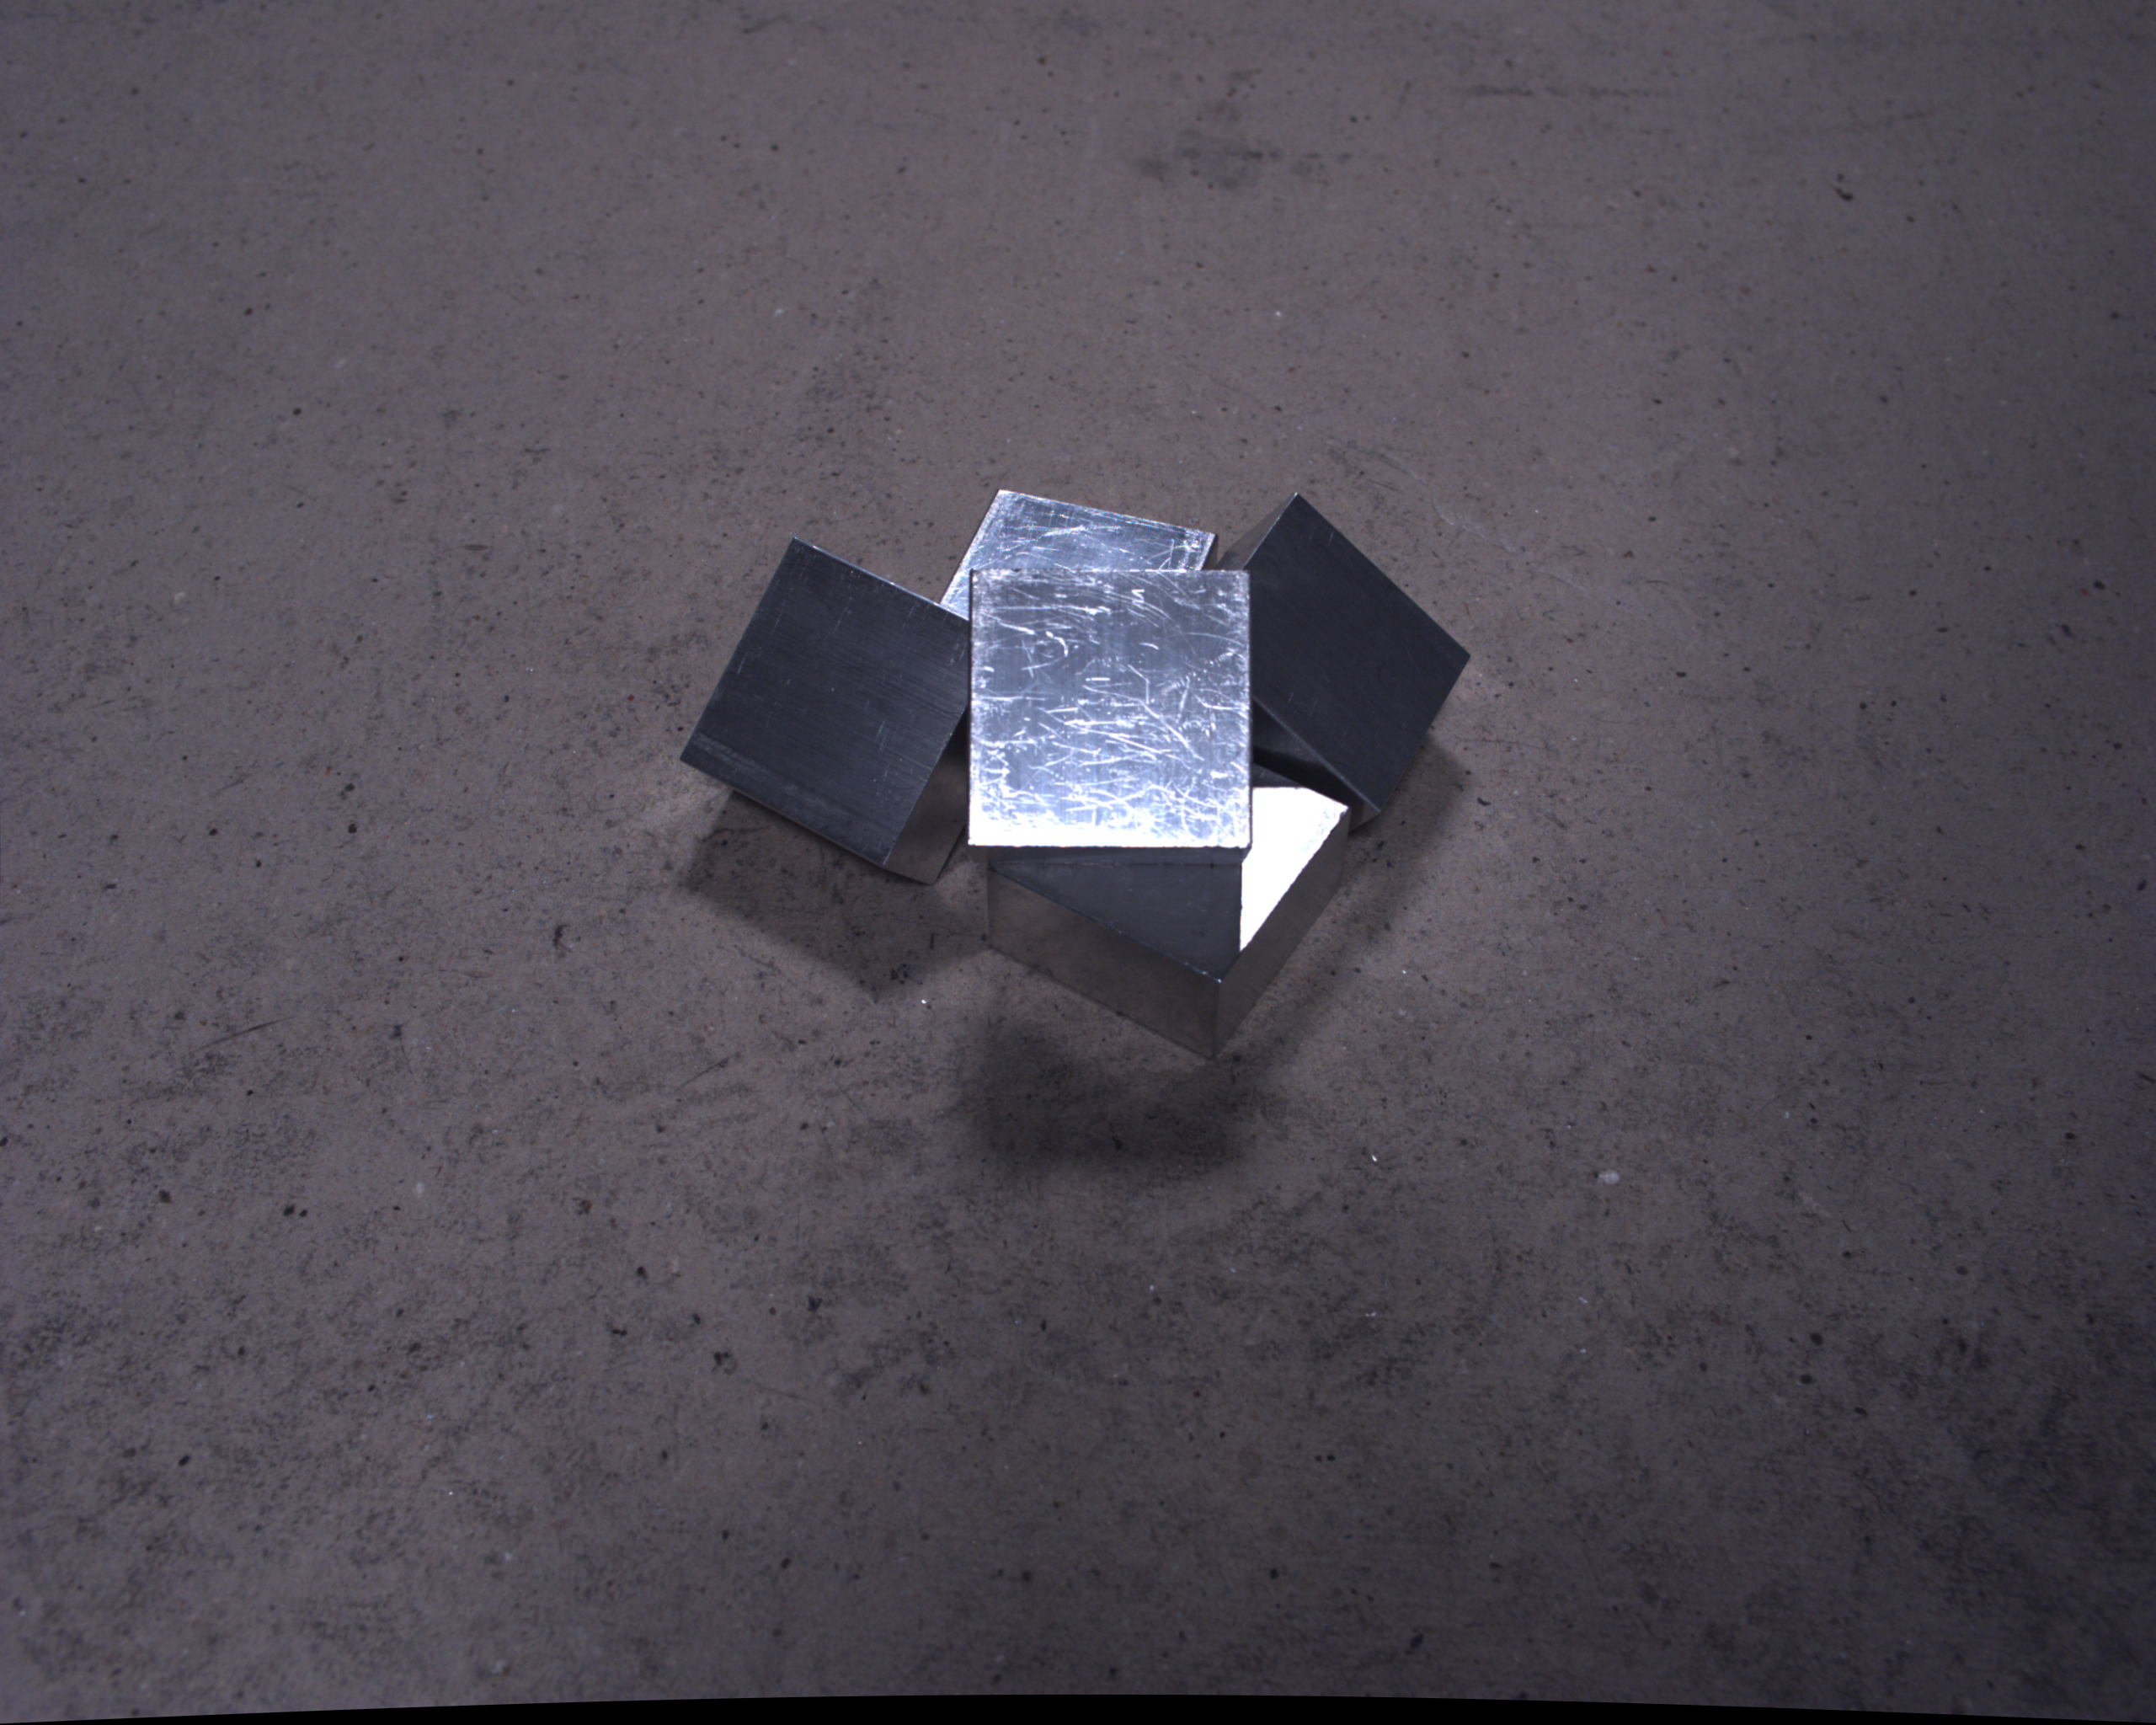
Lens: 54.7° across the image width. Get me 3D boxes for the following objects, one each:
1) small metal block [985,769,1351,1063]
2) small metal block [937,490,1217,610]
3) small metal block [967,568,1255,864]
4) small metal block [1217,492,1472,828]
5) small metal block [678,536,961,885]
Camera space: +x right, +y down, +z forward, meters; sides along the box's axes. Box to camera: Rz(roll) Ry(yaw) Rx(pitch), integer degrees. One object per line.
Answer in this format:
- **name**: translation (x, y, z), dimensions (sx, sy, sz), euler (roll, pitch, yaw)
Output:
- **small metal block**: translation (0.017, 0.003, 0.403), dimensions (0.050, 0.025, 0.050), euler (26, 55, 20)
- **small metal block**: translation (-0.002, -0.050, 0.447), dimensions (0.050, 0.025, 0.050), euler (14, 51, 11)
- **small metal block**: translation (0.006, -0.026, 0.379), dimensions (0.050, 0.025, 0.050), euler (0, 83, 0)
- **small metal block**: translation (0.045, -0.038, 0.423), dimensions (0.050, 0.025, 0.050), euler (41, 54, -10)
- **small metal block**: translation (-0.042, -0.030, 0.414), dimensions (0.050, 0.025, 0.050), euler (27, 91, 19)
